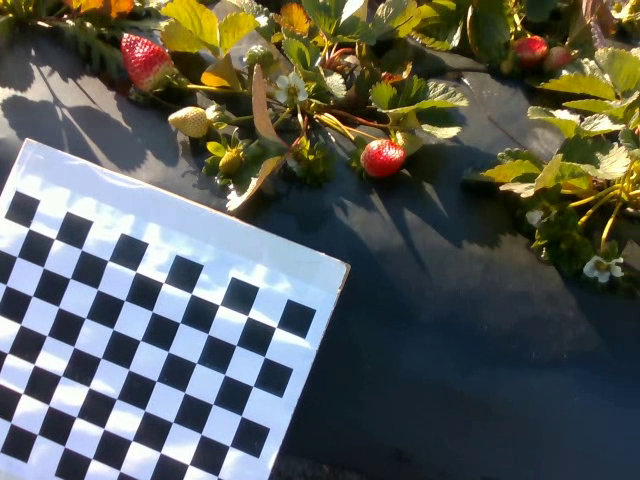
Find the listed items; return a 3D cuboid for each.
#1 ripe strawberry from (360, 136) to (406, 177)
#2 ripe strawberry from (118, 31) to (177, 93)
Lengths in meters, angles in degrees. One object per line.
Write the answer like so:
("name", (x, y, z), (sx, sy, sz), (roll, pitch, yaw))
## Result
("ripe strawberry", (0.051, -0.060, 0.404), (0.042, 0.037, 0.045), (5, -4, -23))
("ripe strawberry", (-0.139, -0.142, 0.438), (0.044, 0.053, 0.036), (-42, 1, 2))
